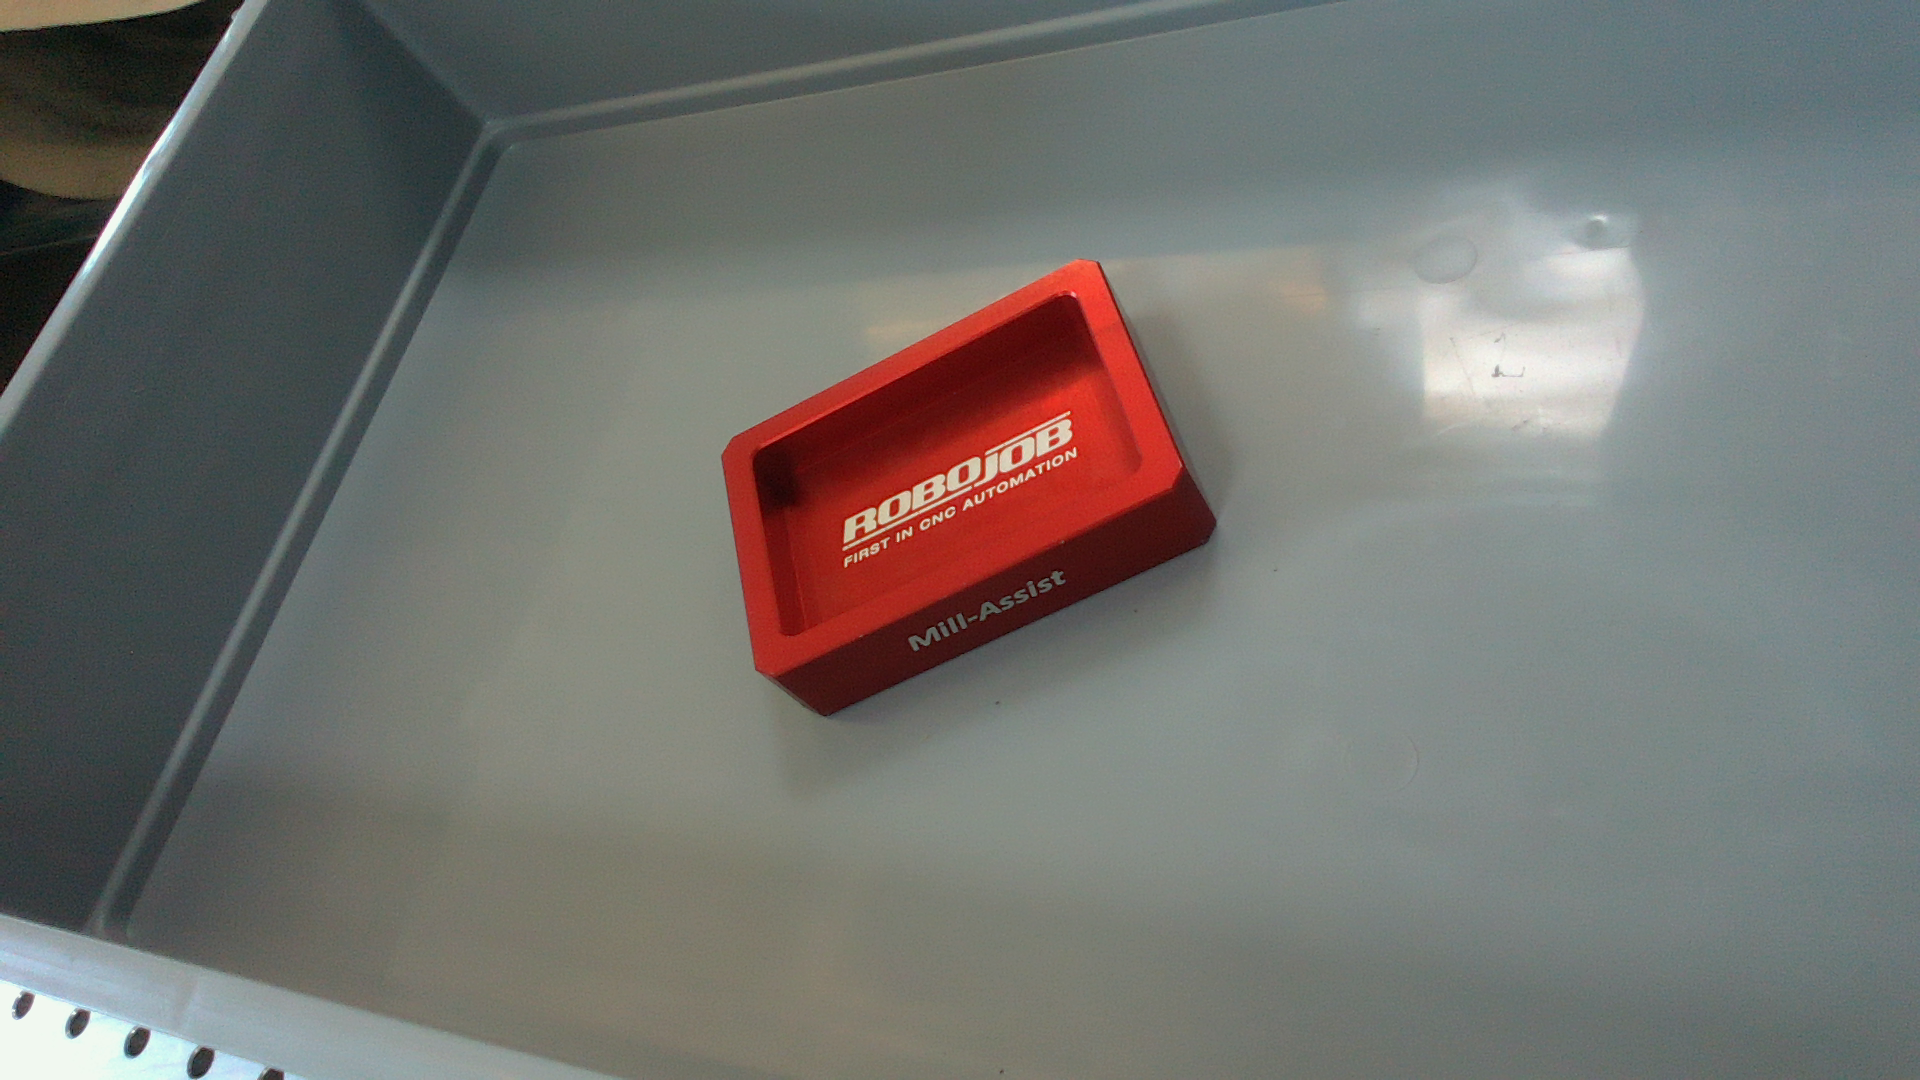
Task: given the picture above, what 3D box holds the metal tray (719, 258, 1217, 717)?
[{"bbox_3d":[-0.002,-0.016,0.398,0.130,0.030,0.090,-25,53,12],"label":"metal tray"}]
